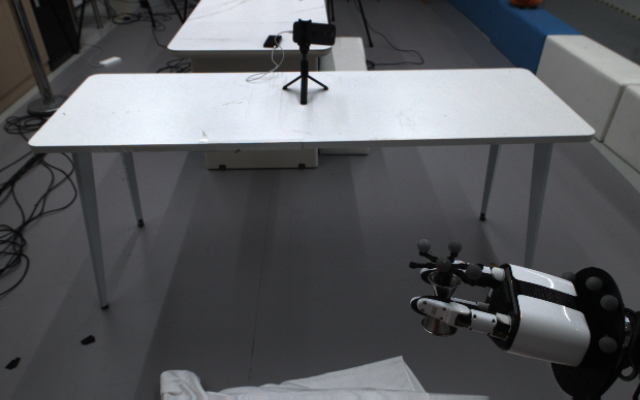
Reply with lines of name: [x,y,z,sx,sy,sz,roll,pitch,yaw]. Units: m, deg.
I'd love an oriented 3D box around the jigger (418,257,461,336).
jigger: [0.150,0.126,0.603,0.043,0.071,0.043,1,20,0]
